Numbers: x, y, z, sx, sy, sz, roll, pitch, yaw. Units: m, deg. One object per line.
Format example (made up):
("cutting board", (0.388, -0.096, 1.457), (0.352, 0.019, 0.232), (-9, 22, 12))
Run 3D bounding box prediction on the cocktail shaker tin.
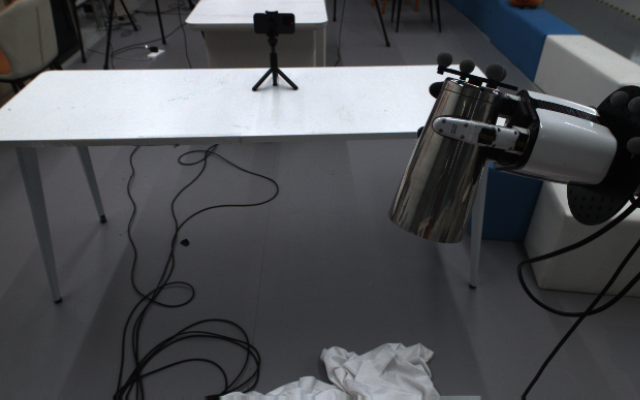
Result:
("cocktail shaker tin", (0.150, -0.051, 0.558), (0.093, 0.170, 0.093), (14, 18, -5))
